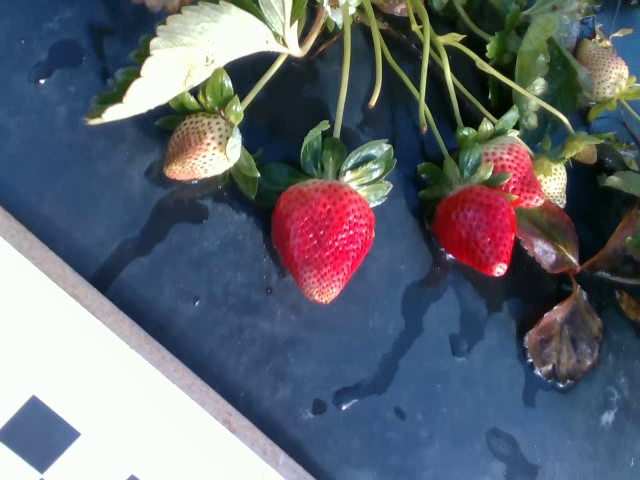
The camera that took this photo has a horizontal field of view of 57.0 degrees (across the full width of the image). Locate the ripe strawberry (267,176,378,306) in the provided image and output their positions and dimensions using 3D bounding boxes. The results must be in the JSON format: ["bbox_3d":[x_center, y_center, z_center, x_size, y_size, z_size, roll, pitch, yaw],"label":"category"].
[{"bbox_3d":[0.001,0.001,0.251,0.050,0.065,0.050,5,-44,2],"label":"ripe strawberry"}]

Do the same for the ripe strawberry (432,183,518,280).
[{"bbox_3d":[0.077,-0.001,0.290,0.044,0.055,0.042,-18,-42,5],"label":"ripe strawberry"}]
